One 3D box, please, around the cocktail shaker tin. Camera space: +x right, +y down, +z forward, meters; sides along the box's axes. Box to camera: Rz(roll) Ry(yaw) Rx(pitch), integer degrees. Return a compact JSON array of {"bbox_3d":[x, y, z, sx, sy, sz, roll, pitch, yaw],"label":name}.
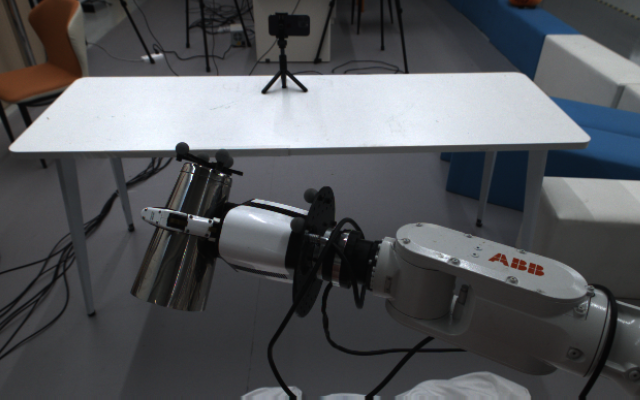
[{"bbox_3d":[-0.167,0.045,0.610,0.093,0.170,0.093,15,-6,2],"label":"cocktail shaker tin"}]
